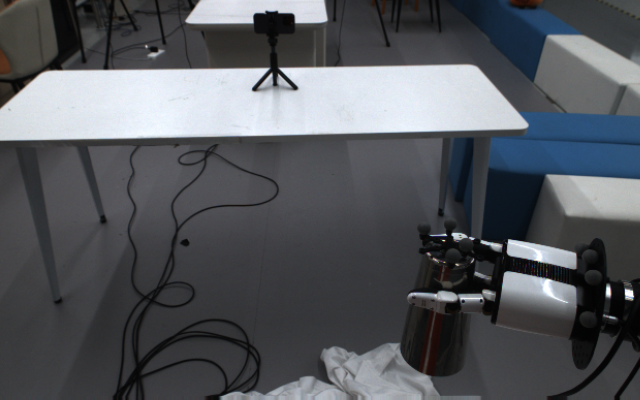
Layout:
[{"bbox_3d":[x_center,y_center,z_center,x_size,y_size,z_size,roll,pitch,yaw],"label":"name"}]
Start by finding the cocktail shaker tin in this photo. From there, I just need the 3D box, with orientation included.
[{"bbox_3d":[0.165,0.138,0.658,0.093,0.170,0.093,2,27,-1],"label":"cocktail shaker tin"}]
